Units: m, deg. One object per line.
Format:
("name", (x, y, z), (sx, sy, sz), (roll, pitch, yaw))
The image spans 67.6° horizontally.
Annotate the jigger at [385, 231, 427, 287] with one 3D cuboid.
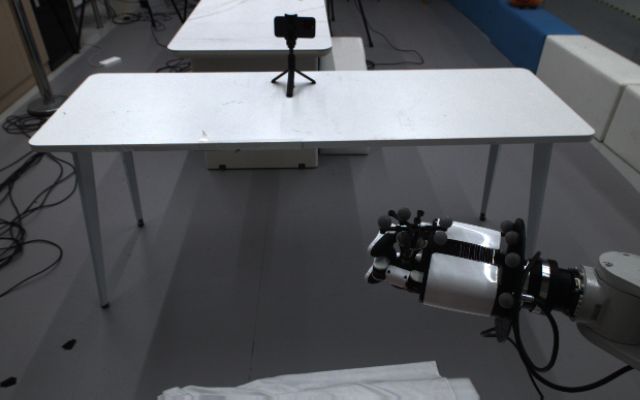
("jigger", (0.119, 0.078, 0.645), (0.043, 0.071, 0.043), (4, 31, -2))
